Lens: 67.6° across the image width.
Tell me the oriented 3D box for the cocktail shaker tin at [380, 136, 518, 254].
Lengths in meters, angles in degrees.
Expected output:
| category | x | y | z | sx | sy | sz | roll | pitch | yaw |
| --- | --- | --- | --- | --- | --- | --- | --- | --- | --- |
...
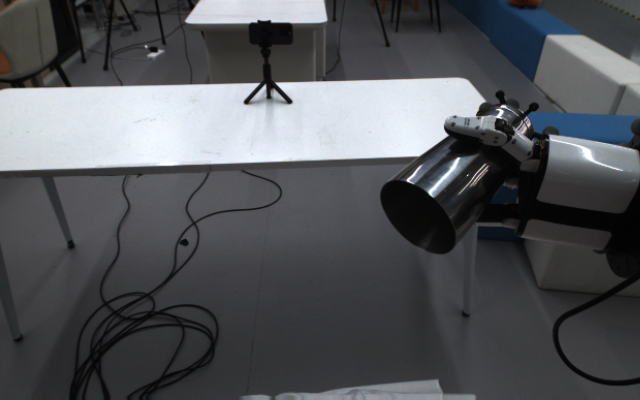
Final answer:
| category | x | y | z | sx | sy | sz | roll | pitch | yaw |
| --- | --- | --- | --- | --- | --- | --- | --- | --- | --- |
| cocktail shaker tin | 0.155 | -0.036 | 0.515 | 0.170 | 0.093 | 0.093 | -38 | 50 | -24 |
